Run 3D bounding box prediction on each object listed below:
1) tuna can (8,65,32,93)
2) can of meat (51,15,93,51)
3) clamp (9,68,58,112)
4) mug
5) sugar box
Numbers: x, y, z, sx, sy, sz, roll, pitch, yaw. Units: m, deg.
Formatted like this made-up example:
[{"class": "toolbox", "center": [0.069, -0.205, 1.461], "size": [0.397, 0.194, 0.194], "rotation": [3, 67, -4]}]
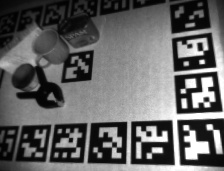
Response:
[{"class": "tuna can", "center": [-0.302, -0.019, 0.693], "size": [0.085, 0.034, 0.085], "rotation": [-5, 72, 18]}, {"class": "can of meat", "center": [-0.118, -0.155, 0.656], "size": [0.101, 0.084, 0.057], "rotation": [-12, 67, 14]}, {"class": "clamp", "center": [-0.229, 0.029, 0.657], "size": [0.163, 0.037, 0.122], "rotation": [33, 81, 21]}, {"class": "mug", "center": [-0.217, -0.103, 0.663], "size": [0.092, 0.082, 0.117], "rotation": [22, 82, 24]}, {"class": "sugar box", "center": [-0.303, -0.109, 0.698], "size": [0.176, 0.094, 0.045], "rotation": [-39, 62, 1]}]
